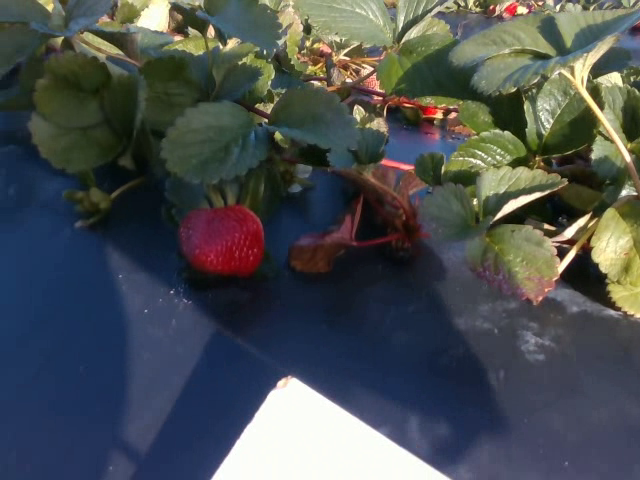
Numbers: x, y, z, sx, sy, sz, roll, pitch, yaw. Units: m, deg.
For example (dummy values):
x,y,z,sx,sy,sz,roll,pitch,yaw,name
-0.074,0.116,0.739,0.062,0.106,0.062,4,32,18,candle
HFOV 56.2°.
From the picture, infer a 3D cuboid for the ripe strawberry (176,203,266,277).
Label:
x,y,z,sx,sy,sz,roll,pitch,yaw,name
-0.044,0.001,0.243,0.040,0.041,0.056,-23,10,9,ripe strawberry
